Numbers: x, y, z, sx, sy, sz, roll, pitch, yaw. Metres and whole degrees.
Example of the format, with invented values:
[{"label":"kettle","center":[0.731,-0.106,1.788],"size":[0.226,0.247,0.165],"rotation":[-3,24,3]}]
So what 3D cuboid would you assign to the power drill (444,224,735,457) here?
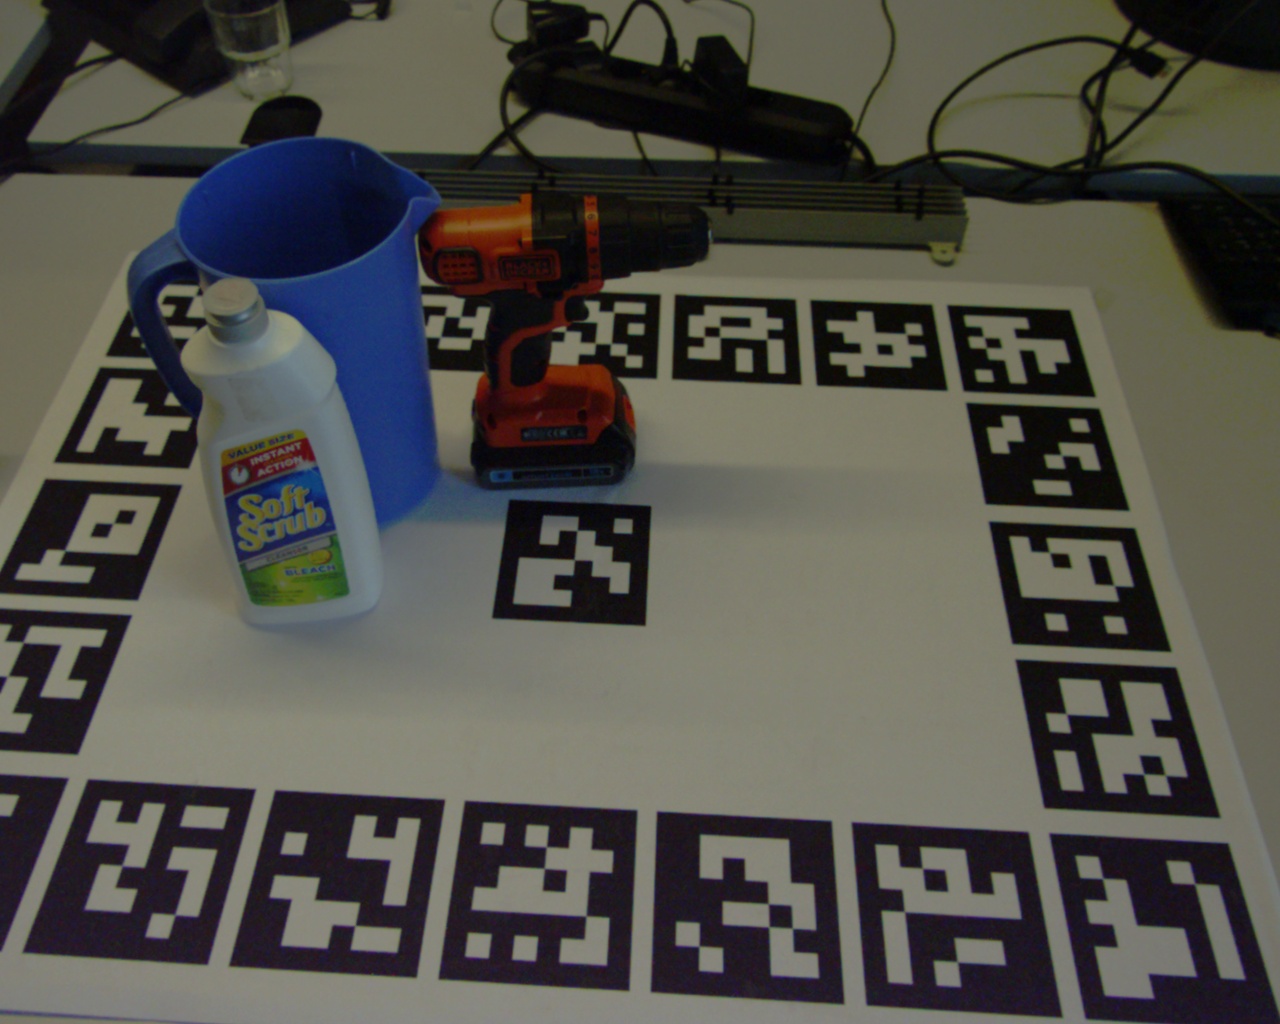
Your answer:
[{"label":"power drill","center":[-0.039,-0.113,0.776],"size":[0.184,0.187,0.057],"rotation":[1,56,-7]}]

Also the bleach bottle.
[{"label":"bleach bottle","center":[-0.220,-0.040,0.684],"size":[0.102,0.250,0.068],"rotation":[-5,53,-3]}]

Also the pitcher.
[{"label":"pitcher","center":[-0.207,-0.109,0.762],"size":[0.188,0.242,0.134],"rotation":[-20,57,-15]}]
